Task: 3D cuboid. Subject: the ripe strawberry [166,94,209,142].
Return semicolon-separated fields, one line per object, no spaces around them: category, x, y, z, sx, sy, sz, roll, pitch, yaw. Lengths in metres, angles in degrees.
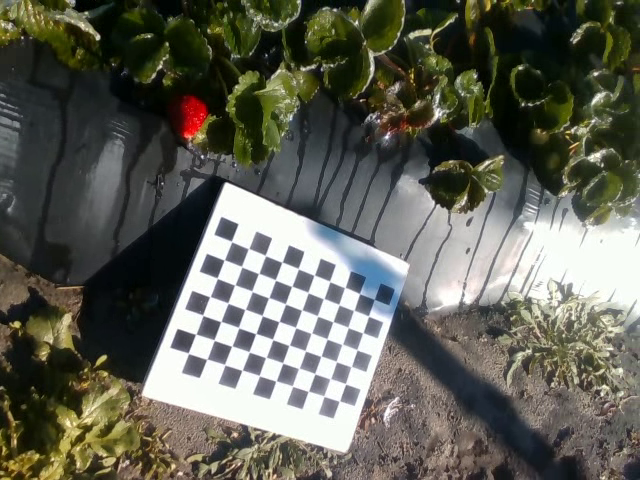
ripe strawberry;-0.124;-0.114;0.567;0.041;0.053;0.047;16;-44;-23
